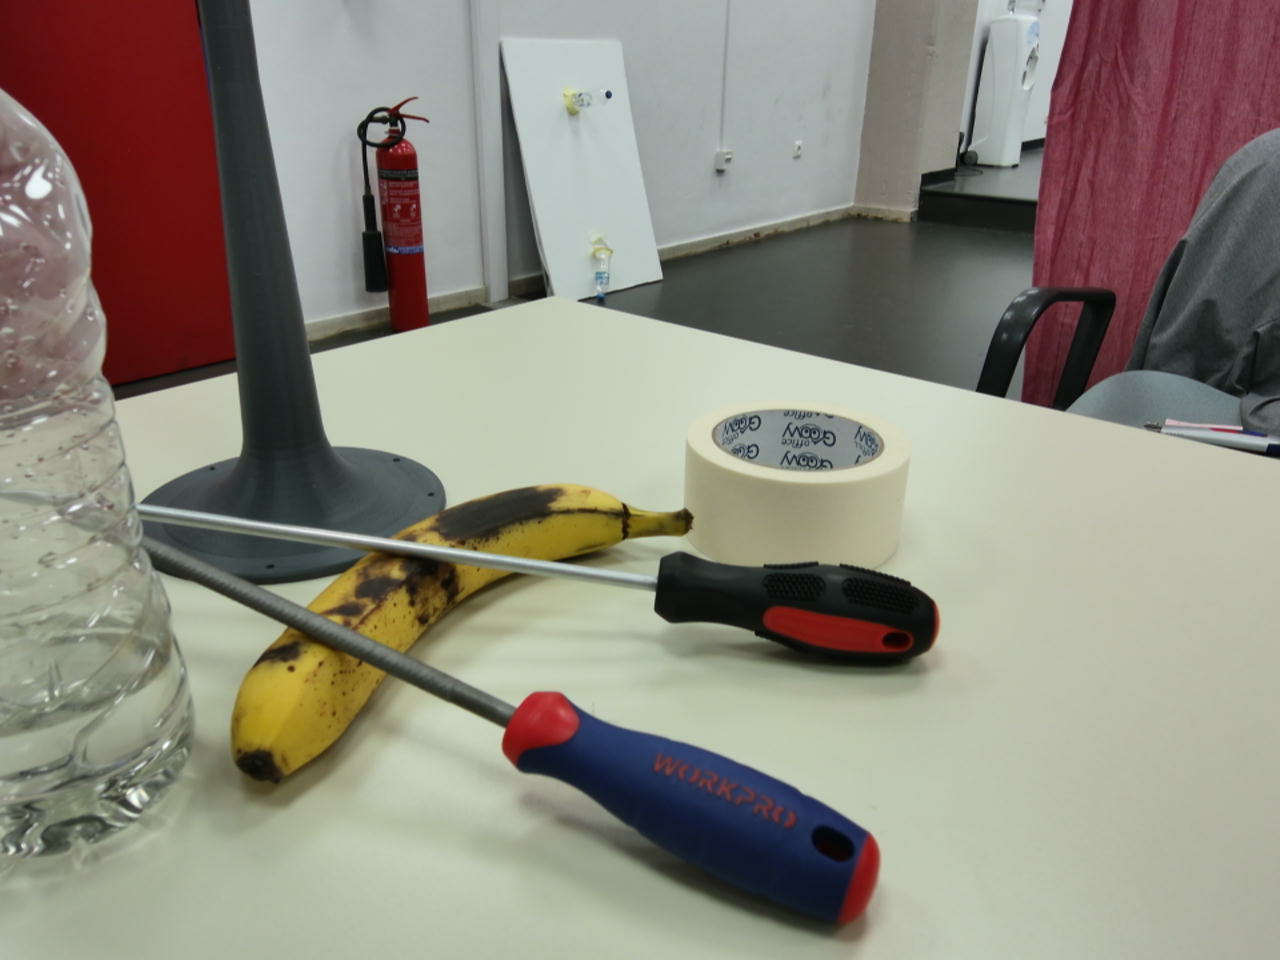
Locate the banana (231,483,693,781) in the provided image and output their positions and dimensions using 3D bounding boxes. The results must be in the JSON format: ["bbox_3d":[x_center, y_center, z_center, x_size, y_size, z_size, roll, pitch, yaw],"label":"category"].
[{"bbox_3d":[-0.075,0.042,0.397,0.084,0.037,0.222,18,28,35],"label":"banana"}]
